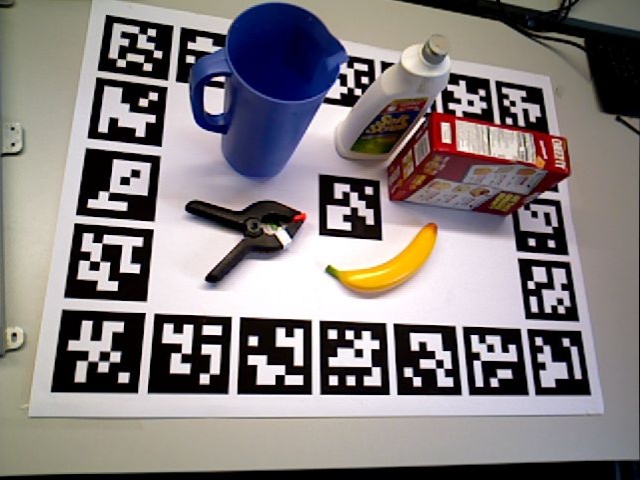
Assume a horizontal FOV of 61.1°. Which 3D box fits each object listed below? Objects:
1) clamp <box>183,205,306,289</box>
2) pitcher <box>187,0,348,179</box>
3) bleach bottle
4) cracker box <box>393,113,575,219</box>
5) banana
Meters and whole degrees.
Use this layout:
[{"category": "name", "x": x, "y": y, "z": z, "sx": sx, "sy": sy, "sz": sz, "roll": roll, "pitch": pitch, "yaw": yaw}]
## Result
[{"category": "clamp", "x": -0.097, "y": -0.006, "z": 0.758, "sx": 0.162, "sy": 0.037, "sz": 0.121, "roll": -13, "pitch": 73, "yaw": -21}, {"category": "pitcher", "x": -0.078, "y": -0.175, "z": 0.685, "sx": 0.185, "sy": 0.248, "sz": 0.133, "roll": -15, "pitch": 74, "yaw": -24}, {"category": "bleach bottle", "x": 0.094, "y": -0.194, "z": 0.762, "sx": 0.101, "sy": 0.256, "sz": 0.067, "roll": 3, "pitch": 68, "yaw": -15}, {"category": "cracker box", "x": 0.237, "y": -0.105, "z": 0.801, "sx": 0.211, "sy": 0.167, "sz": 0.071, "roll": 5, "pitch": 65, "yaw": -13}, {"category": "banana", "x": 0.113, "y": 0.033, "z": 0.811, "sx": 0.194, "sy": 0.039, "sz": 0.074, "roll": -32, "pitch": 81, "yaw": -23}]
